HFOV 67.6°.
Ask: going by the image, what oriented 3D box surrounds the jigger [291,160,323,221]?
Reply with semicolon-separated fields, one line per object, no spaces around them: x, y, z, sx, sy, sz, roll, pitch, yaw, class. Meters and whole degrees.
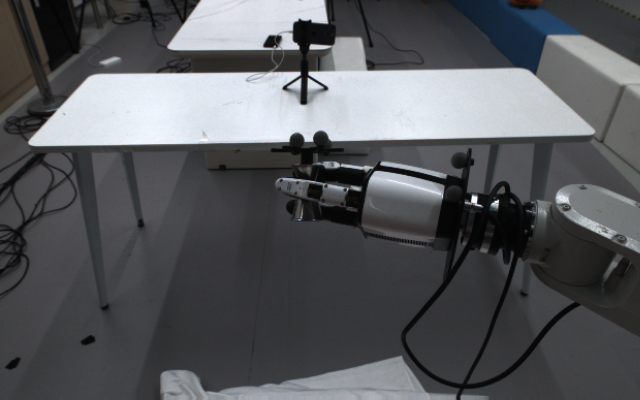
-0.015;-0.010;0.595;0.043;0.071;0.043;-1;2;0;jigger
